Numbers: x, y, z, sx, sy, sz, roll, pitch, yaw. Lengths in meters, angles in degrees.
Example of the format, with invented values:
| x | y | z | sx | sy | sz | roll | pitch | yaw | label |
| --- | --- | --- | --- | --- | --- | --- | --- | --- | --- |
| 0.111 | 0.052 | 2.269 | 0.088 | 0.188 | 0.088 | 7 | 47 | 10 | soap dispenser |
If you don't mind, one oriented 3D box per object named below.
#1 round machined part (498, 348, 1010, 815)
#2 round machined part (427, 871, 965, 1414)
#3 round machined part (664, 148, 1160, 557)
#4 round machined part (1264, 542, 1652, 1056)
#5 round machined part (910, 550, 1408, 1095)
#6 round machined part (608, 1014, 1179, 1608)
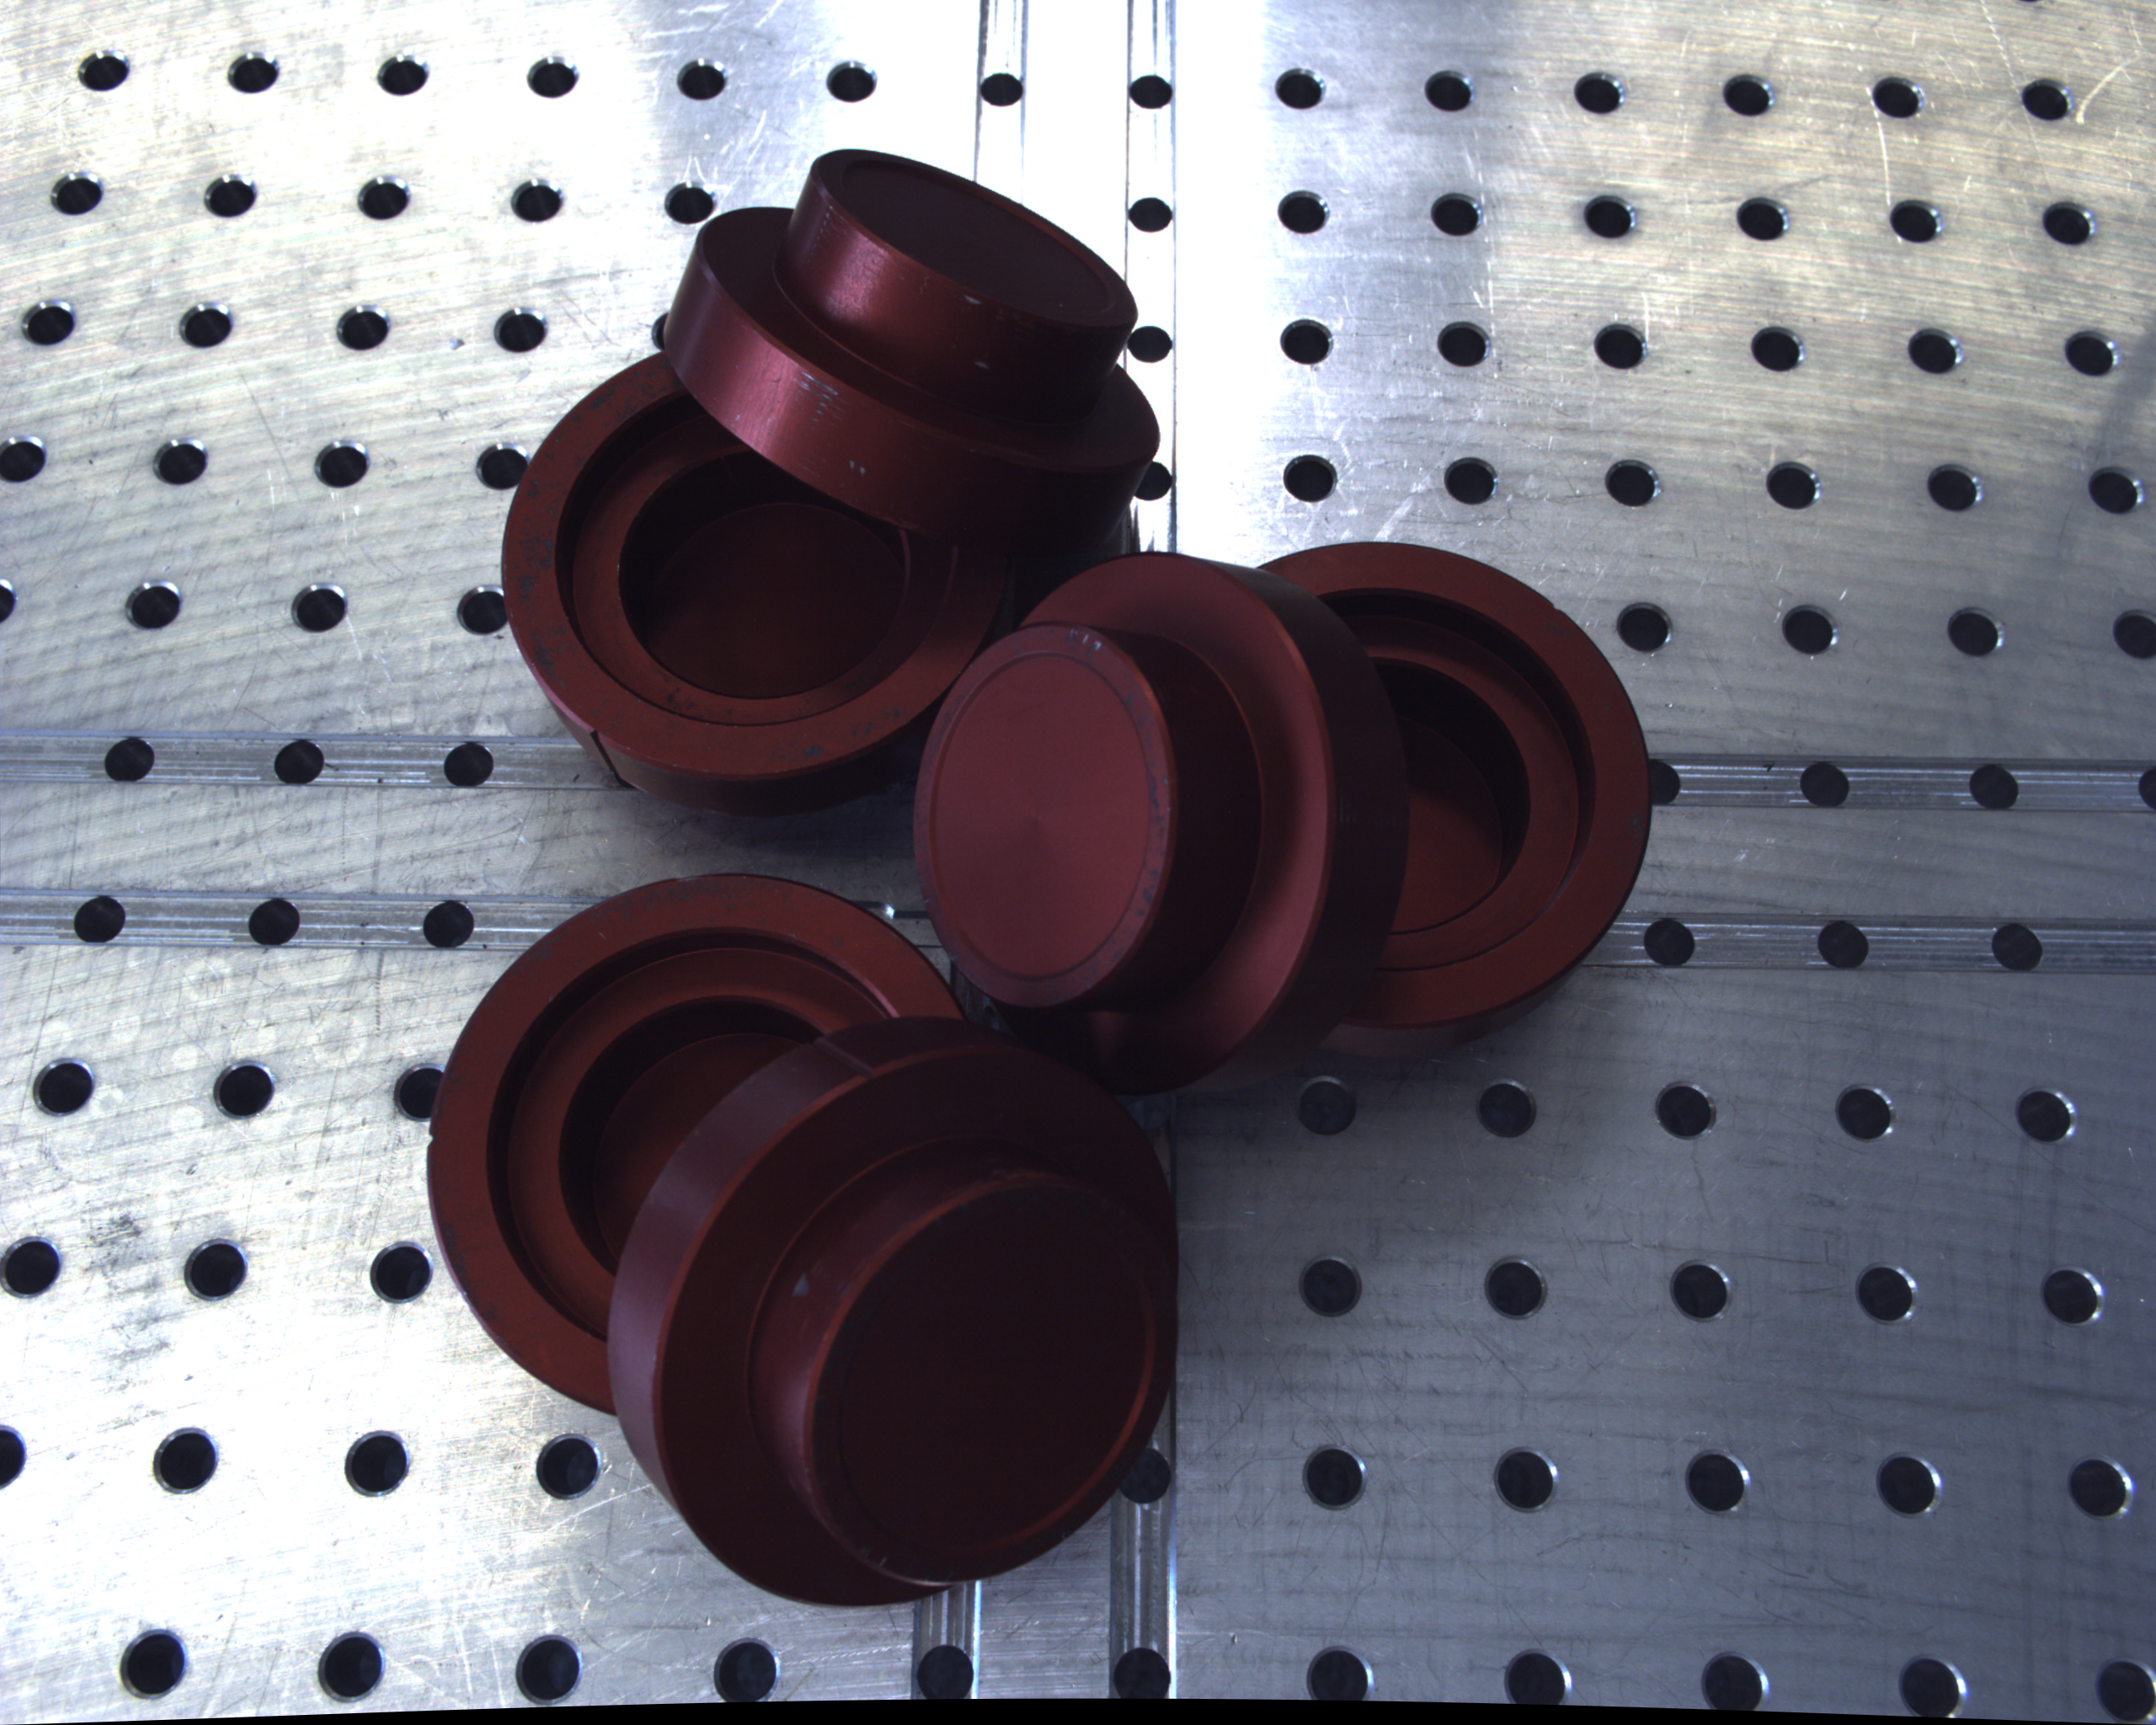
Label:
| x | y | z | sx | sy | sz | roll | pitch | yaw | label |
| --- | --- | --- | --- | --- | --- | --- | --- | --- | --- |
| -0.062 | -0.055 | 0.421 | 0.099 | 0.042 | 0.098 | 0 | 70 | 0 | round machined part |
| -0.064 | 0.054 | 0.382 | 0.099 | 0.042 | 0.098 | 0 | 70 | 0 | round machined part |
| -0.027 | -0.105 | 0.412 | 0.098 | 0.042 | 0.098 | 22 | 30 | -13 | round machined part |
| 0.057 | -0.010 | 0.406 | 0.099 | 0.042 | 0.098 | 0 | 70 | 0 | round machined part |
| 0.007 | -0.008 | 0.373 | 0.042 | 0.098 | 0.098 | 5 | 63 | -44 | round machined part |
| -0.023 | 0.077 | 0.344 | 0.099 | 0.042 | 0.097 | -9 | 106 | -32 | round machined part |
